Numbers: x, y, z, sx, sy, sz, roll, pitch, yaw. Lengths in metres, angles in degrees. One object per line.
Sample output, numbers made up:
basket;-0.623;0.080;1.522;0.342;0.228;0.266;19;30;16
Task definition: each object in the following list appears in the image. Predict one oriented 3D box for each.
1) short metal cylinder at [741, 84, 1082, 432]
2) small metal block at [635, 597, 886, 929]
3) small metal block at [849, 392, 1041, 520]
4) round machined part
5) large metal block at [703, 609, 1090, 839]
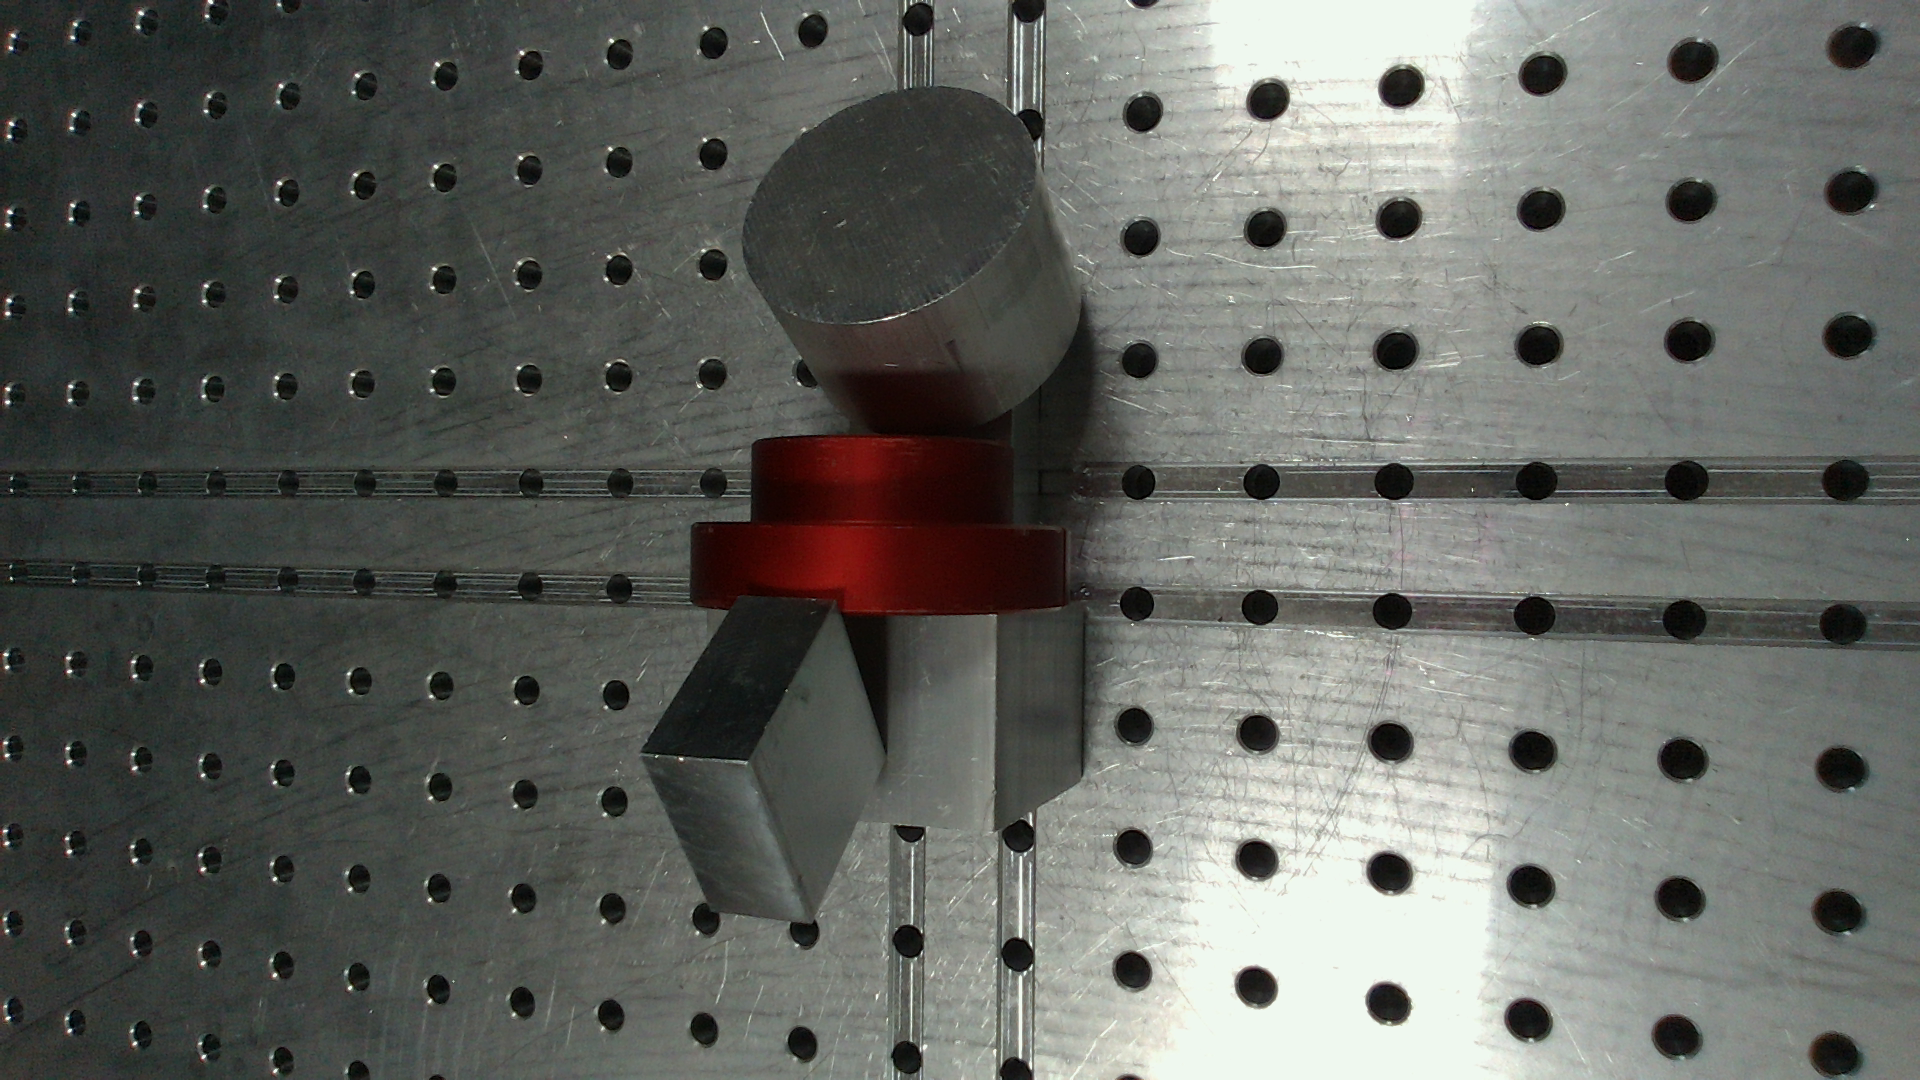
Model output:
short metal cylinder;-0.012;-0.075;0.371;0.080;0.050;0.080;-9;57;14
small metal block;-0.041;0.048;0.303;0.025;0.050;0.050;1;128;20
small metal block;-0.004;-0.029;0.399;0.050;0.025;0.050;1;90;20
round machined part;-0.020;-0.004;0.356;0.098;0.098;0.042;1;90;20
large metal block;-0.014;0.045;0.373;0.080;0.080;0.050;1;90;20
